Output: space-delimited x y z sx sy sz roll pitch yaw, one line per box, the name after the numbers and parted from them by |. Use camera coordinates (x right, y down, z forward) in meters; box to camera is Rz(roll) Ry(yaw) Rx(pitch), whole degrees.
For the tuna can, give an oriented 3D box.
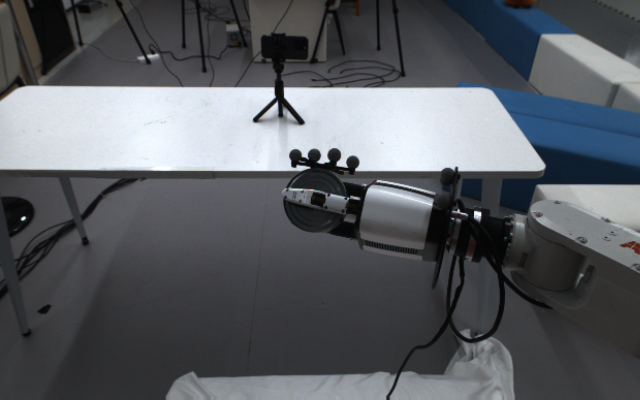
-0.003 0.000 0.648 0.085 0.085 0.034 11 -7 13 | tuna can
